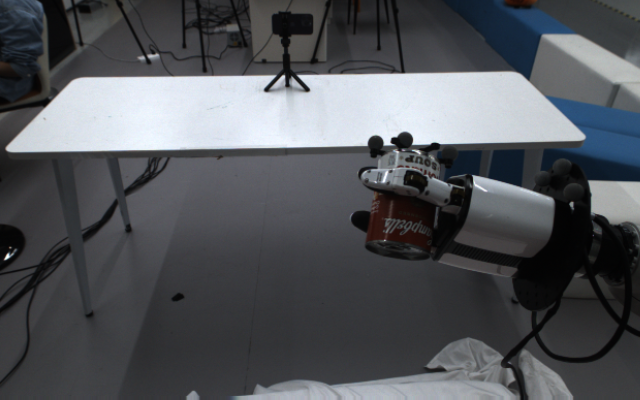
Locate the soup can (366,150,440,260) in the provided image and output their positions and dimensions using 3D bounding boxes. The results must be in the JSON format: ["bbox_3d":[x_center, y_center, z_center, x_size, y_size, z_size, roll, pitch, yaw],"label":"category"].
[{"bbox_3d":[0.090,0.006,0.505,0.067,0.067,0.101,8,72,9],"label":"soup can"}]
